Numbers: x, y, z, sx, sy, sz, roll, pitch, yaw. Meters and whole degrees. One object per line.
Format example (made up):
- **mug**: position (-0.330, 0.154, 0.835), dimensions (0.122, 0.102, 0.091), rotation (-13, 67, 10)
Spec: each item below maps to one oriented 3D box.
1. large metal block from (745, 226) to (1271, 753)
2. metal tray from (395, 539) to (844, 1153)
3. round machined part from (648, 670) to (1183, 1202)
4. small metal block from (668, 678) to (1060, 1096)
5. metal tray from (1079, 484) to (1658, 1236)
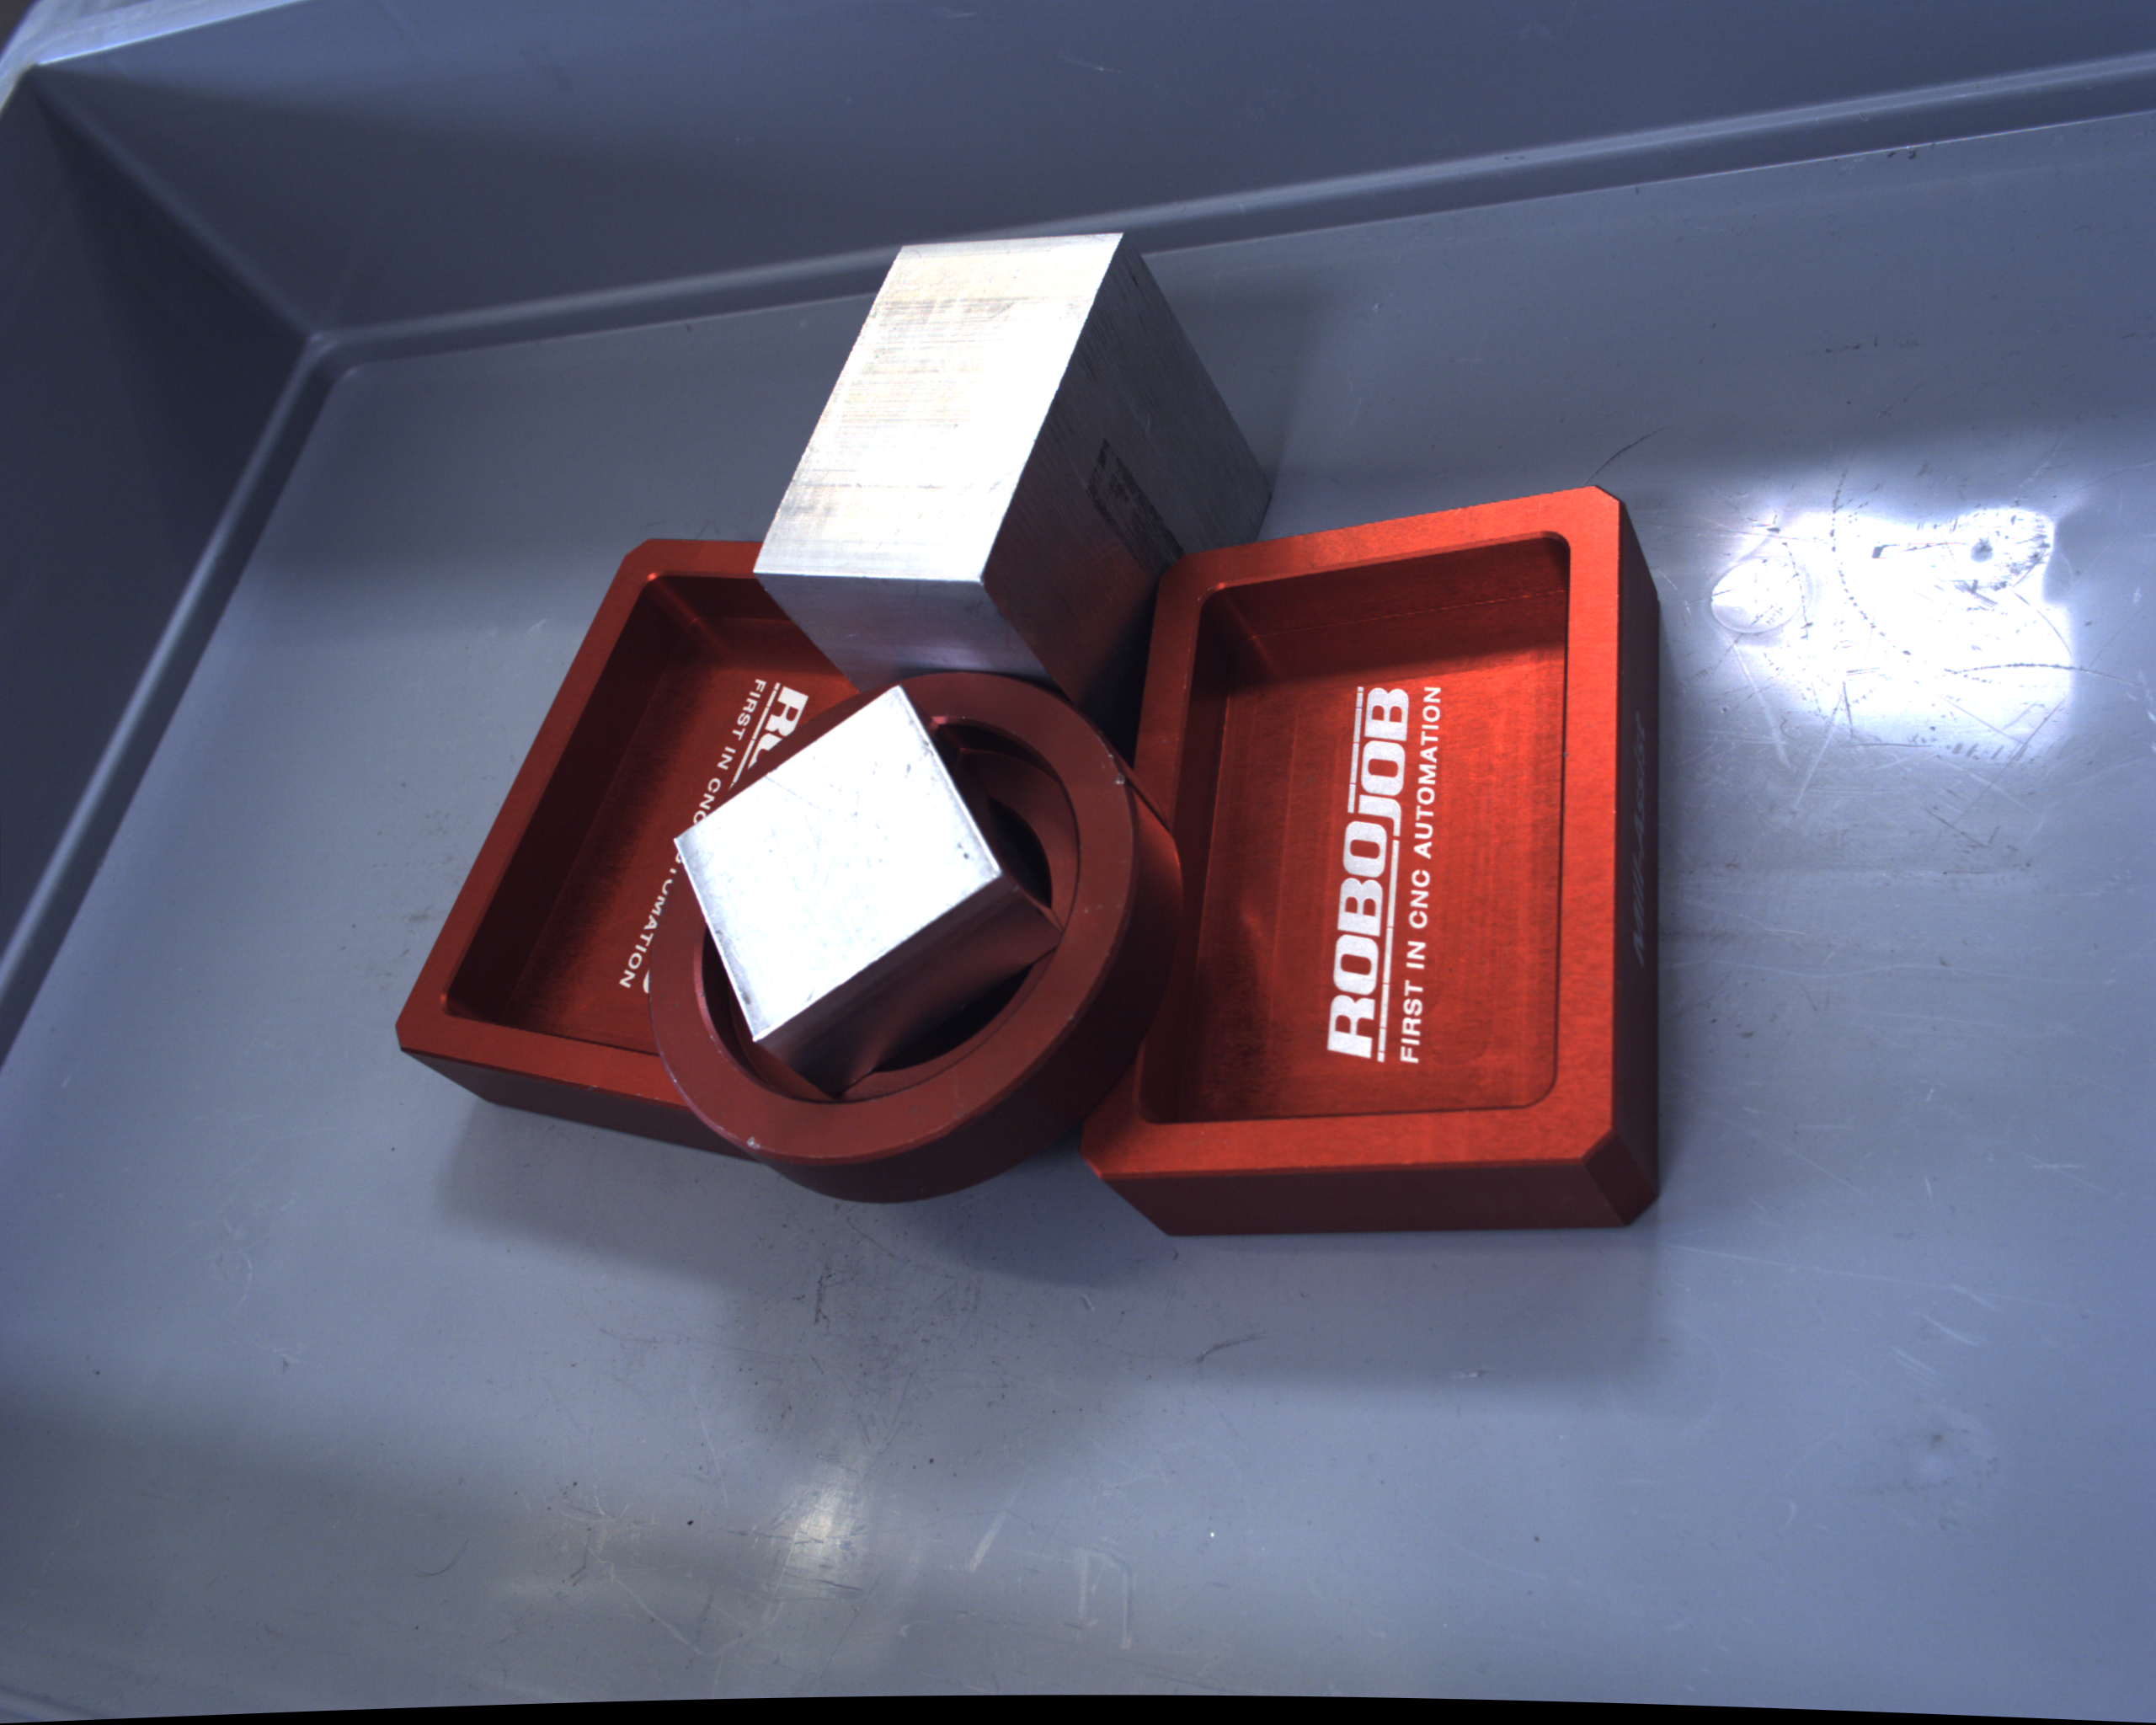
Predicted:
- **large metal block**: position (-0.010, -0.066, 0.414), dimensions (0.050, 0.080, 0.080), rotation (7, 65, 31)
- **metal tray**: position (-0.079, -0.007, 0.446), dimensions (0.090, 0.030, 0.130), rotation (7, 65, 31)
- **round machined part**: position (-0.026, 0.016, 0.384), dimensions (0.098, 0.042, 0.098), rotation (-13, 56, 21)
- **small metal block**: position (-0.038, 0.004, 0.367), dimensions (0.050, 0.025, 0.050), rotation (-34, 51, 6)
- **metal tray**: position (0.054, -0.001, 0.372), dimensions (0.090, 0.030, 0.130), rotation (-6, 59, 25)
